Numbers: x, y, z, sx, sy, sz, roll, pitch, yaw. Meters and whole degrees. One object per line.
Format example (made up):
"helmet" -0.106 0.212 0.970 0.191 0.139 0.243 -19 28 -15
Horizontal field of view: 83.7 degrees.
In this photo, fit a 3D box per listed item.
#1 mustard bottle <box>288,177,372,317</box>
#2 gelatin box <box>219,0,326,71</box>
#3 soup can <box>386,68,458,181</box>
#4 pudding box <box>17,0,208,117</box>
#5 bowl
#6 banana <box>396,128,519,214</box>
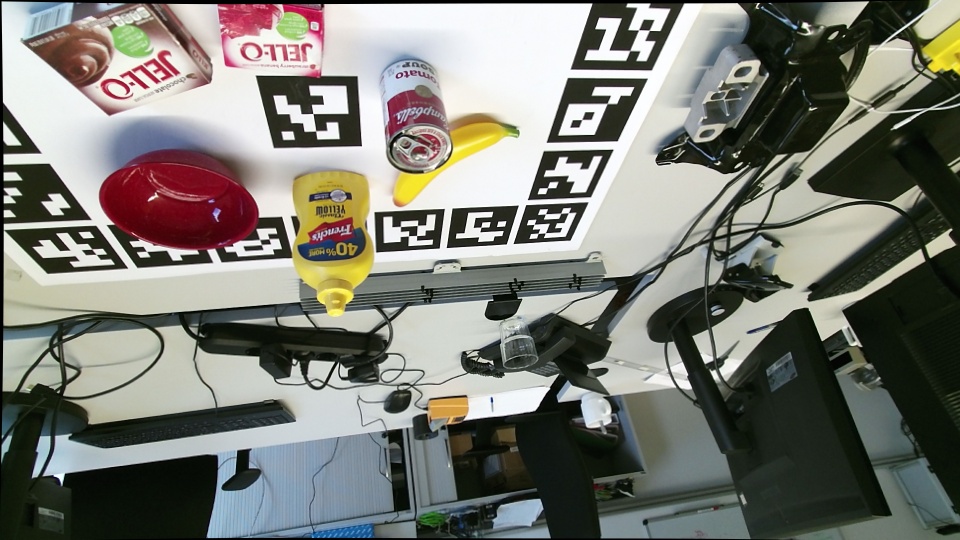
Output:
"mustard bottle" -0.180 -0.024 0.646 0.096 0.190 0.058 -4 150 -13
"gelatin box" -0.189 -0.226 0.495 0.090 0.030 0.073 -1 143 -19
"soup can" -0.063 -0.154 0.567 0.068 0.101 0.068 -7 149 -4
"pudding box" -0.326 -0.198 0.486 0.114 0.038 0.090 -17 142 8
"bowl" -0.359 -0.089 0.637 0.162 0.055 0.162 -10 149 -6
"banana" -0.046 -0.129 0.690 0.198 0.038 0.074 -31 154 27
